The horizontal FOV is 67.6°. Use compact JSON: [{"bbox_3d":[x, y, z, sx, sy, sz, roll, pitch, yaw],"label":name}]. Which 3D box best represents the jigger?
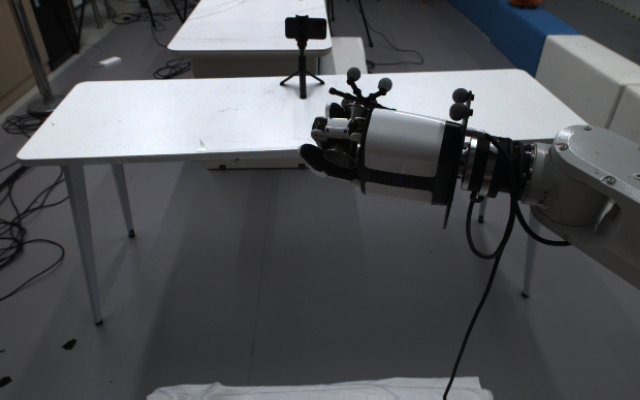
[{"bbox_3d":[0.033,-0.083,0.589,0.043,0.043,0.071,16,70,19],"label":"jigger"}]
